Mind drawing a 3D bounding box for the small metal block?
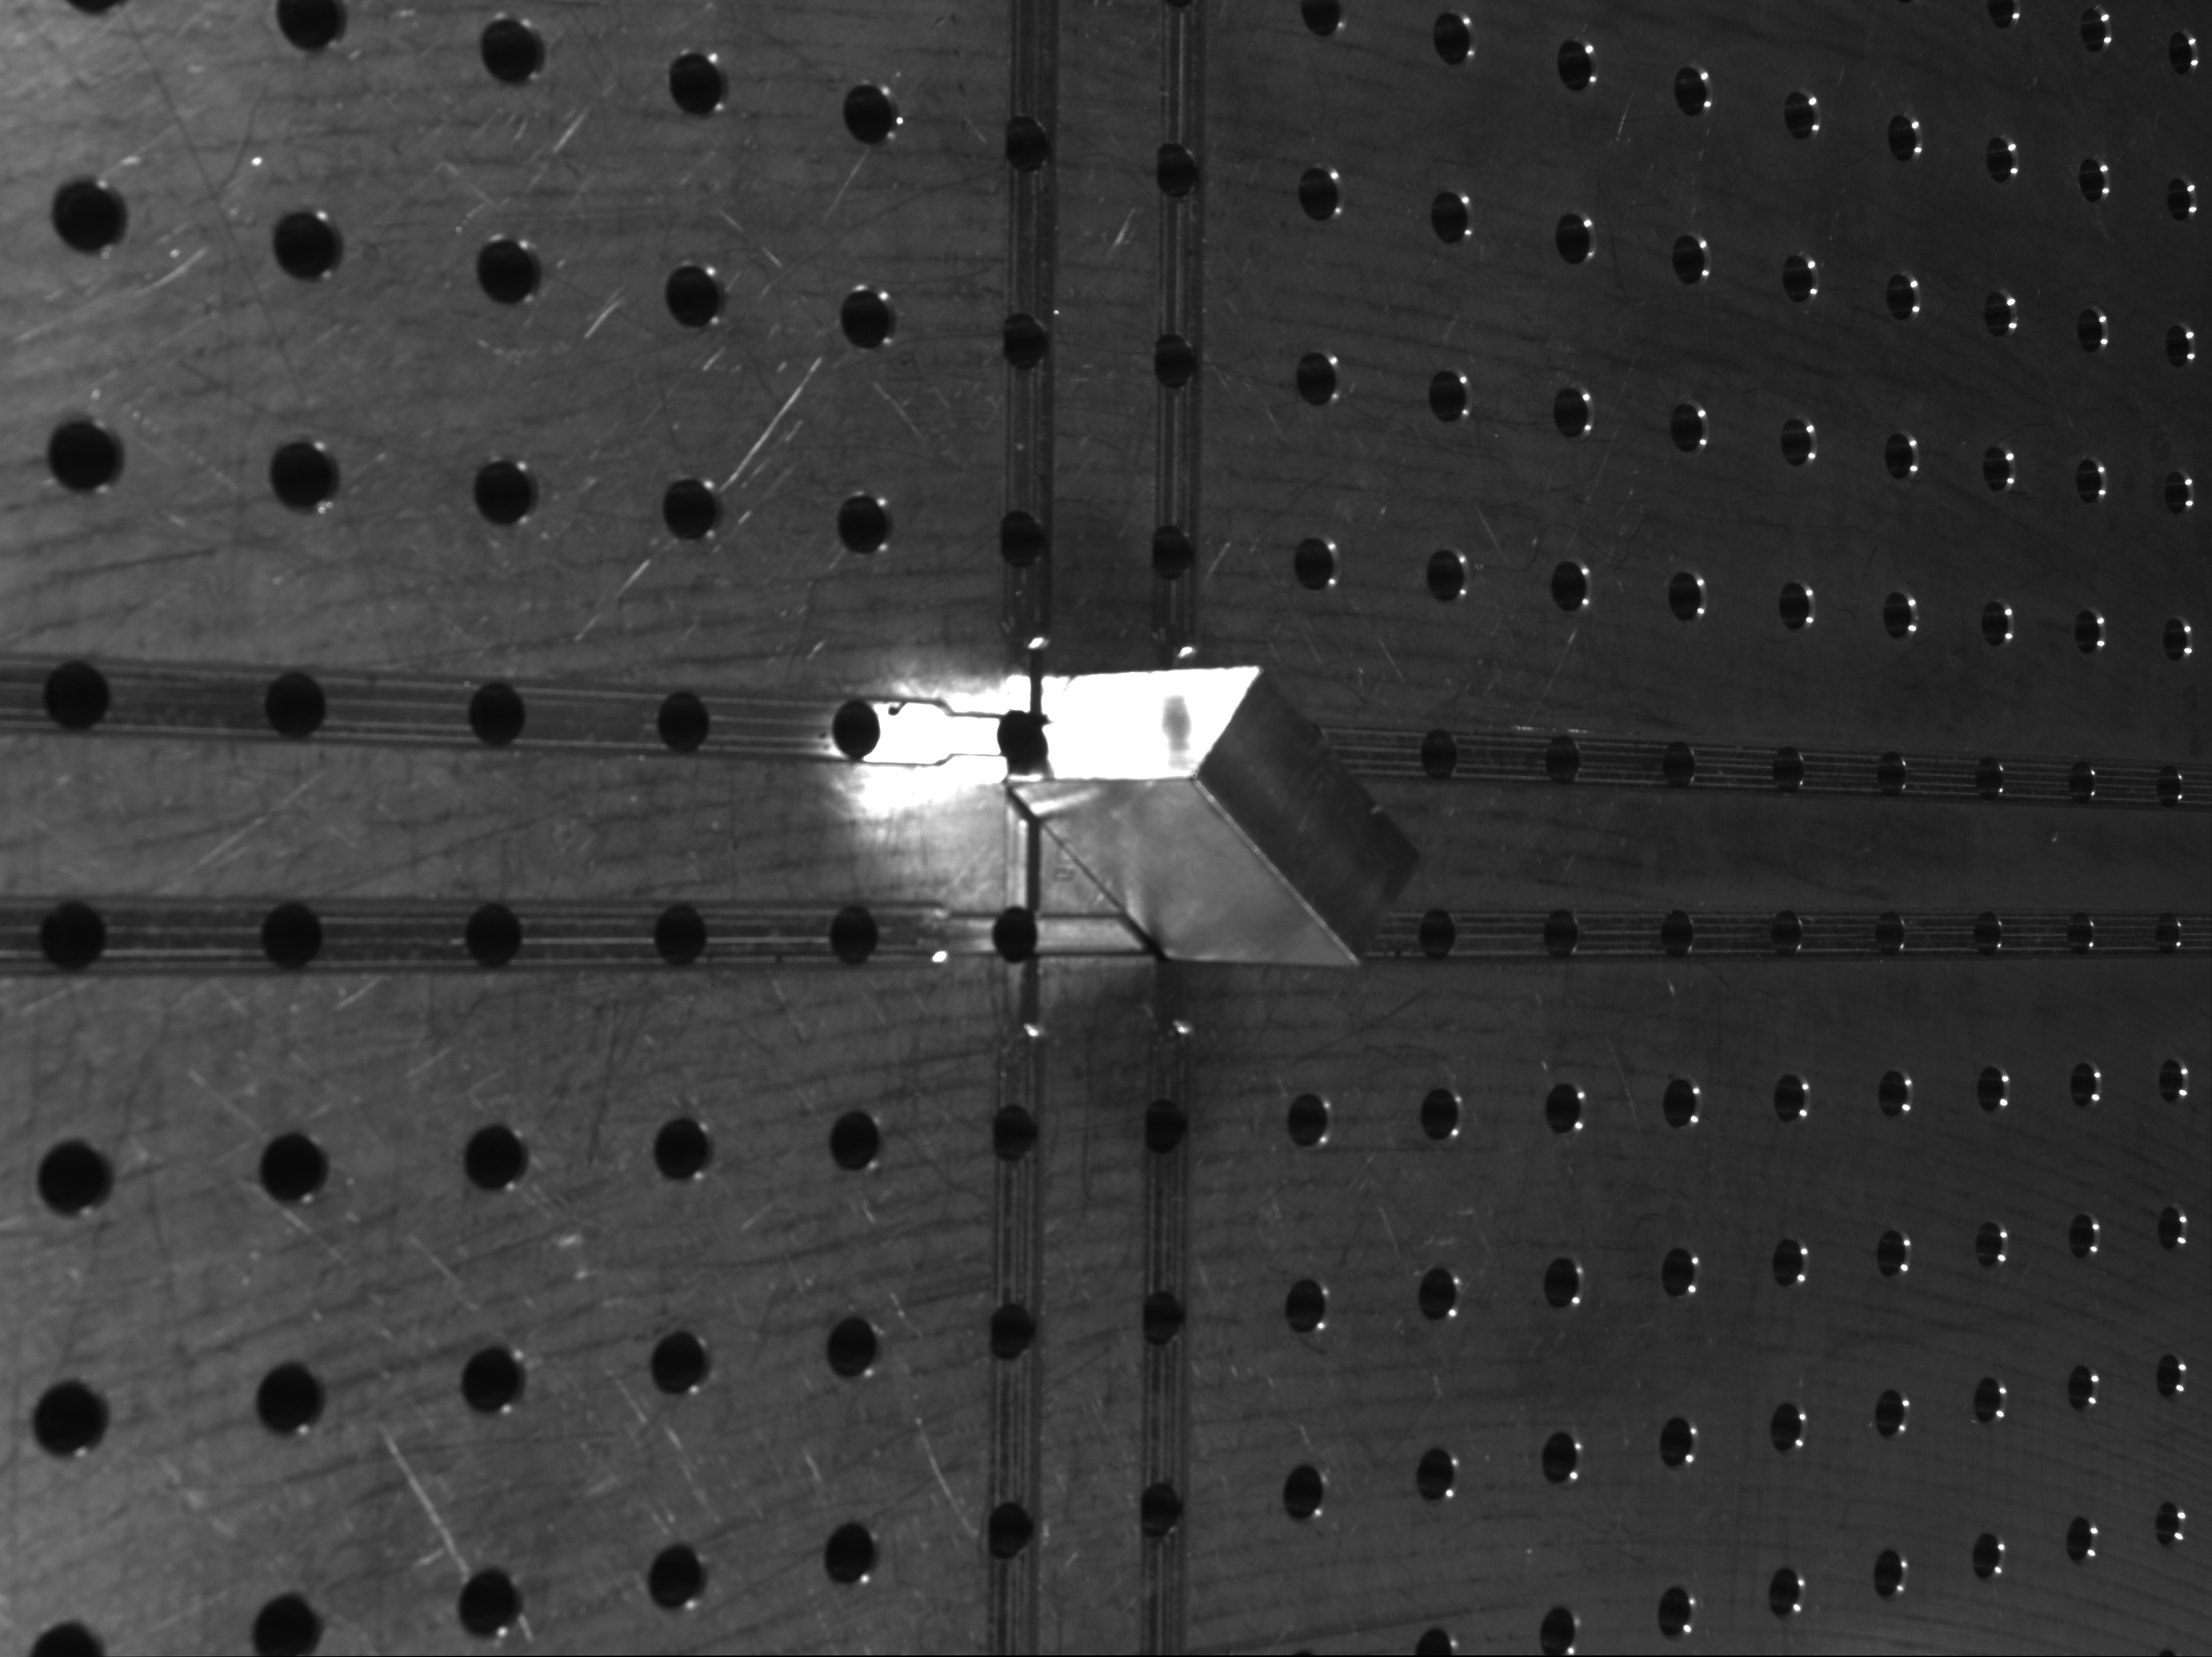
[{"bbox_3d":[0.021,-0.002,0.641,0.050,0.050,0.025,48,62,-29],"label":"small metal block"}]
